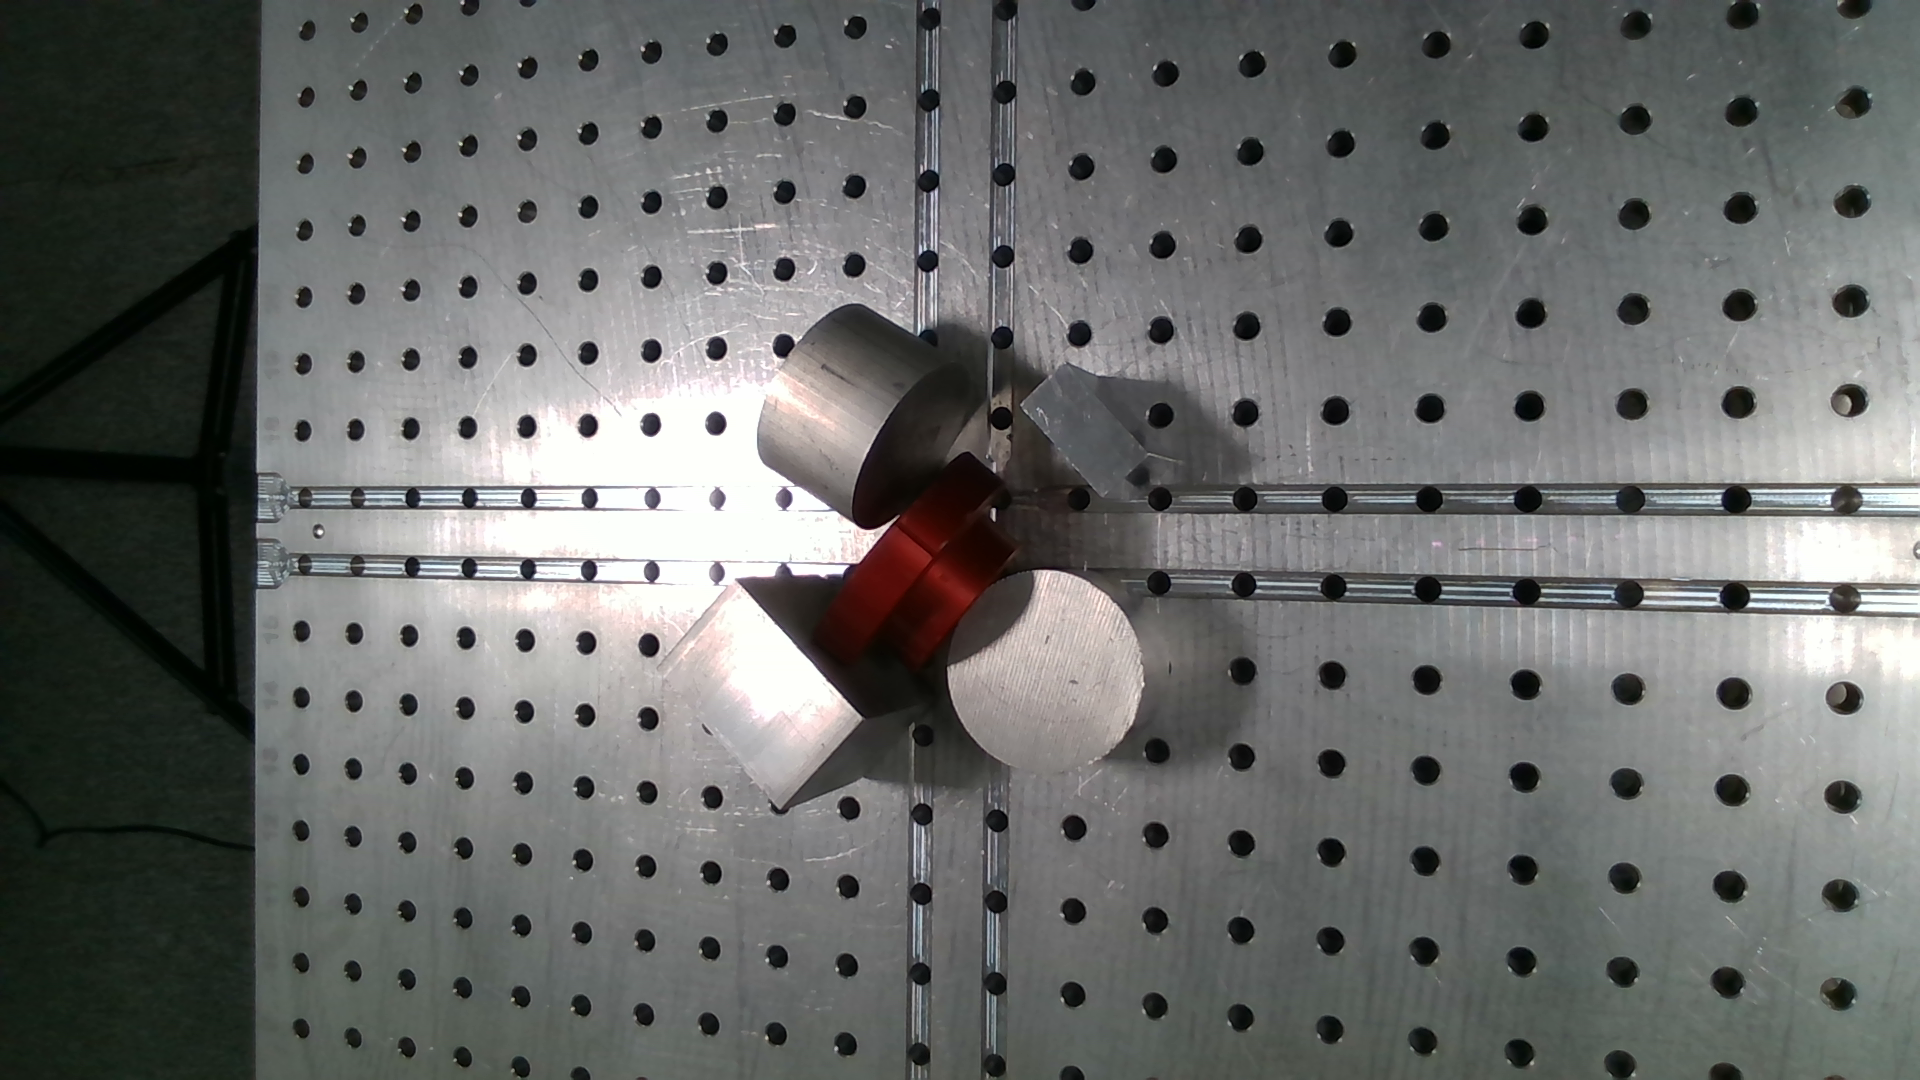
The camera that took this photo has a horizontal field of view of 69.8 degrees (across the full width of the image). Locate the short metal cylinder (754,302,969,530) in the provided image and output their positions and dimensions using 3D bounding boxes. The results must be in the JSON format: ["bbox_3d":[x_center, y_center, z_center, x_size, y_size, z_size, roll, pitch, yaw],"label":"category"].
[{"bbox_3d":[-0.040,-0.051,0.573,0.050,0.080,0.080,33,101,17],"label":"short metal cylinder"}]

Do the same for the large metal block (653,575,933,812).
[{"bbox_3d":[-0.068,0.062,0.585,0.080,0.080,0.050,45,104,14],"label":"large metal block"}]

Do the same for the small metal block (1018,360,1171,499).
[{"bbox_3d":[0.056,-0.043,0.553,0.025,0.050,0.050,-44,76,15],"label":"small metal block"}]

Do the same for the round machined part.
[{"bbox_3d":[-0.013,0.014,0.555,0.042,0.098,0.098,40,103,3],"label":"round machined part"}]

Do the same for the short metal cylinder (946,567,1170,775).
[{"bbox_3d":[0.041,0.051,0.560,0.080,0.050,0.080,0,90,20],"label":"short metal cylinder"}]
